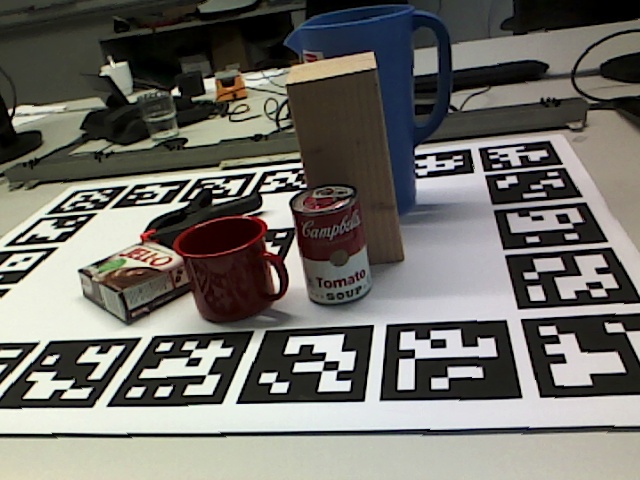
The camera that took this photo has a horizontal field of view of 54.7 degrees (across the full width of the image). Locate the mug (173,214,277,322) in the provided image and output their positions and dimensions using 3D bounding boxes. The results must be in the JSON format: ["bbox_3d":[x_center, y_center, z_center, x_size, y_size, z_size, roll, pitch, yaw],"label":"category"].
[{"bbox_3d":[-0.084,0.030,0.612,0.093,0.081,0.118,-28,28,-36],"label":"mug"}]

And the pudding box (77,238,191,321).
[{"bbox_3d":[-0.209,0.042,0.698,0.089,0.038,0.115,-32,31,-32],"label":"pudding box"}]

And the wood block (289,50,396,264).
[{"bbox_3d":[0.031,-0.085,0.655,0.090,0.205,0.091,-3,26,9],"label":"wood block"}]

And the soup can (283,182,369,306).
[{"bbox_3d":[0.008,0.004,0.602,0.068,0.101,0.068,-10,27,5],"label":"soup can"}]

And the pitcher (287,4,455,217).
[{"bbox_3d":[0.073,-0.155,0.749,0.189,0.242,0.133,-8,23,14],"label":"pitcher"}]

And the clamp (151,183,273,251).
[{"bbox_3d":[-0.159,-0.029,0.836,0.123,0.036,0.164,18,38,35],"label":"clamp"}]
